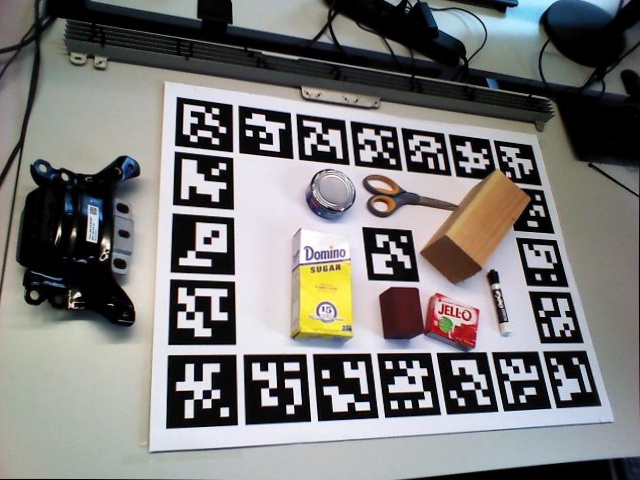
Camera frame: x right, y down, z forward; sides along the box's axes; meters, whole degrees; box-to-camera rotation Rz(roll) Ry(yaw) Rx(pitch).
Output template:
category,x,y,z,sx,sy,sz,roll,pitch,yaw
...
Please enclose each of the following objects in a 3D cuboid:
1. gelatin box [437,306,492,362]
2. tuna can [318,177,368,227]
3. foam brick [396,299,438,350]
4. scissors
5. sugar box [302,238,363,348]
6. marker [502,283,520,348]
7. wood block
category,x,y,z,sx,sy,sz,roll,pitch,yaw
gelatin box,0.255,0.166,0.913,0.089,0.030,0.073,22,65,-10
tuna can,0.041,-0.068,0.924,0.085,0.034,0.085,7,68,-17
foam brick,0.161,0.144,0.872,0.053,0.052,0.077,6,68,-17
scissors,0.201,-0.057,0.990,0.203,0.016,0.087,11,67,-13
sugar box,0.023,0.087,0.855,0.093,0.045,0.175,9,67,-17
marker,0.356,0.139,0.964,0.019,0.020,0.120,6,70,-17
wood block,0.325,-0.001,0.973,0.090,0.091,0.205,45,61,2
